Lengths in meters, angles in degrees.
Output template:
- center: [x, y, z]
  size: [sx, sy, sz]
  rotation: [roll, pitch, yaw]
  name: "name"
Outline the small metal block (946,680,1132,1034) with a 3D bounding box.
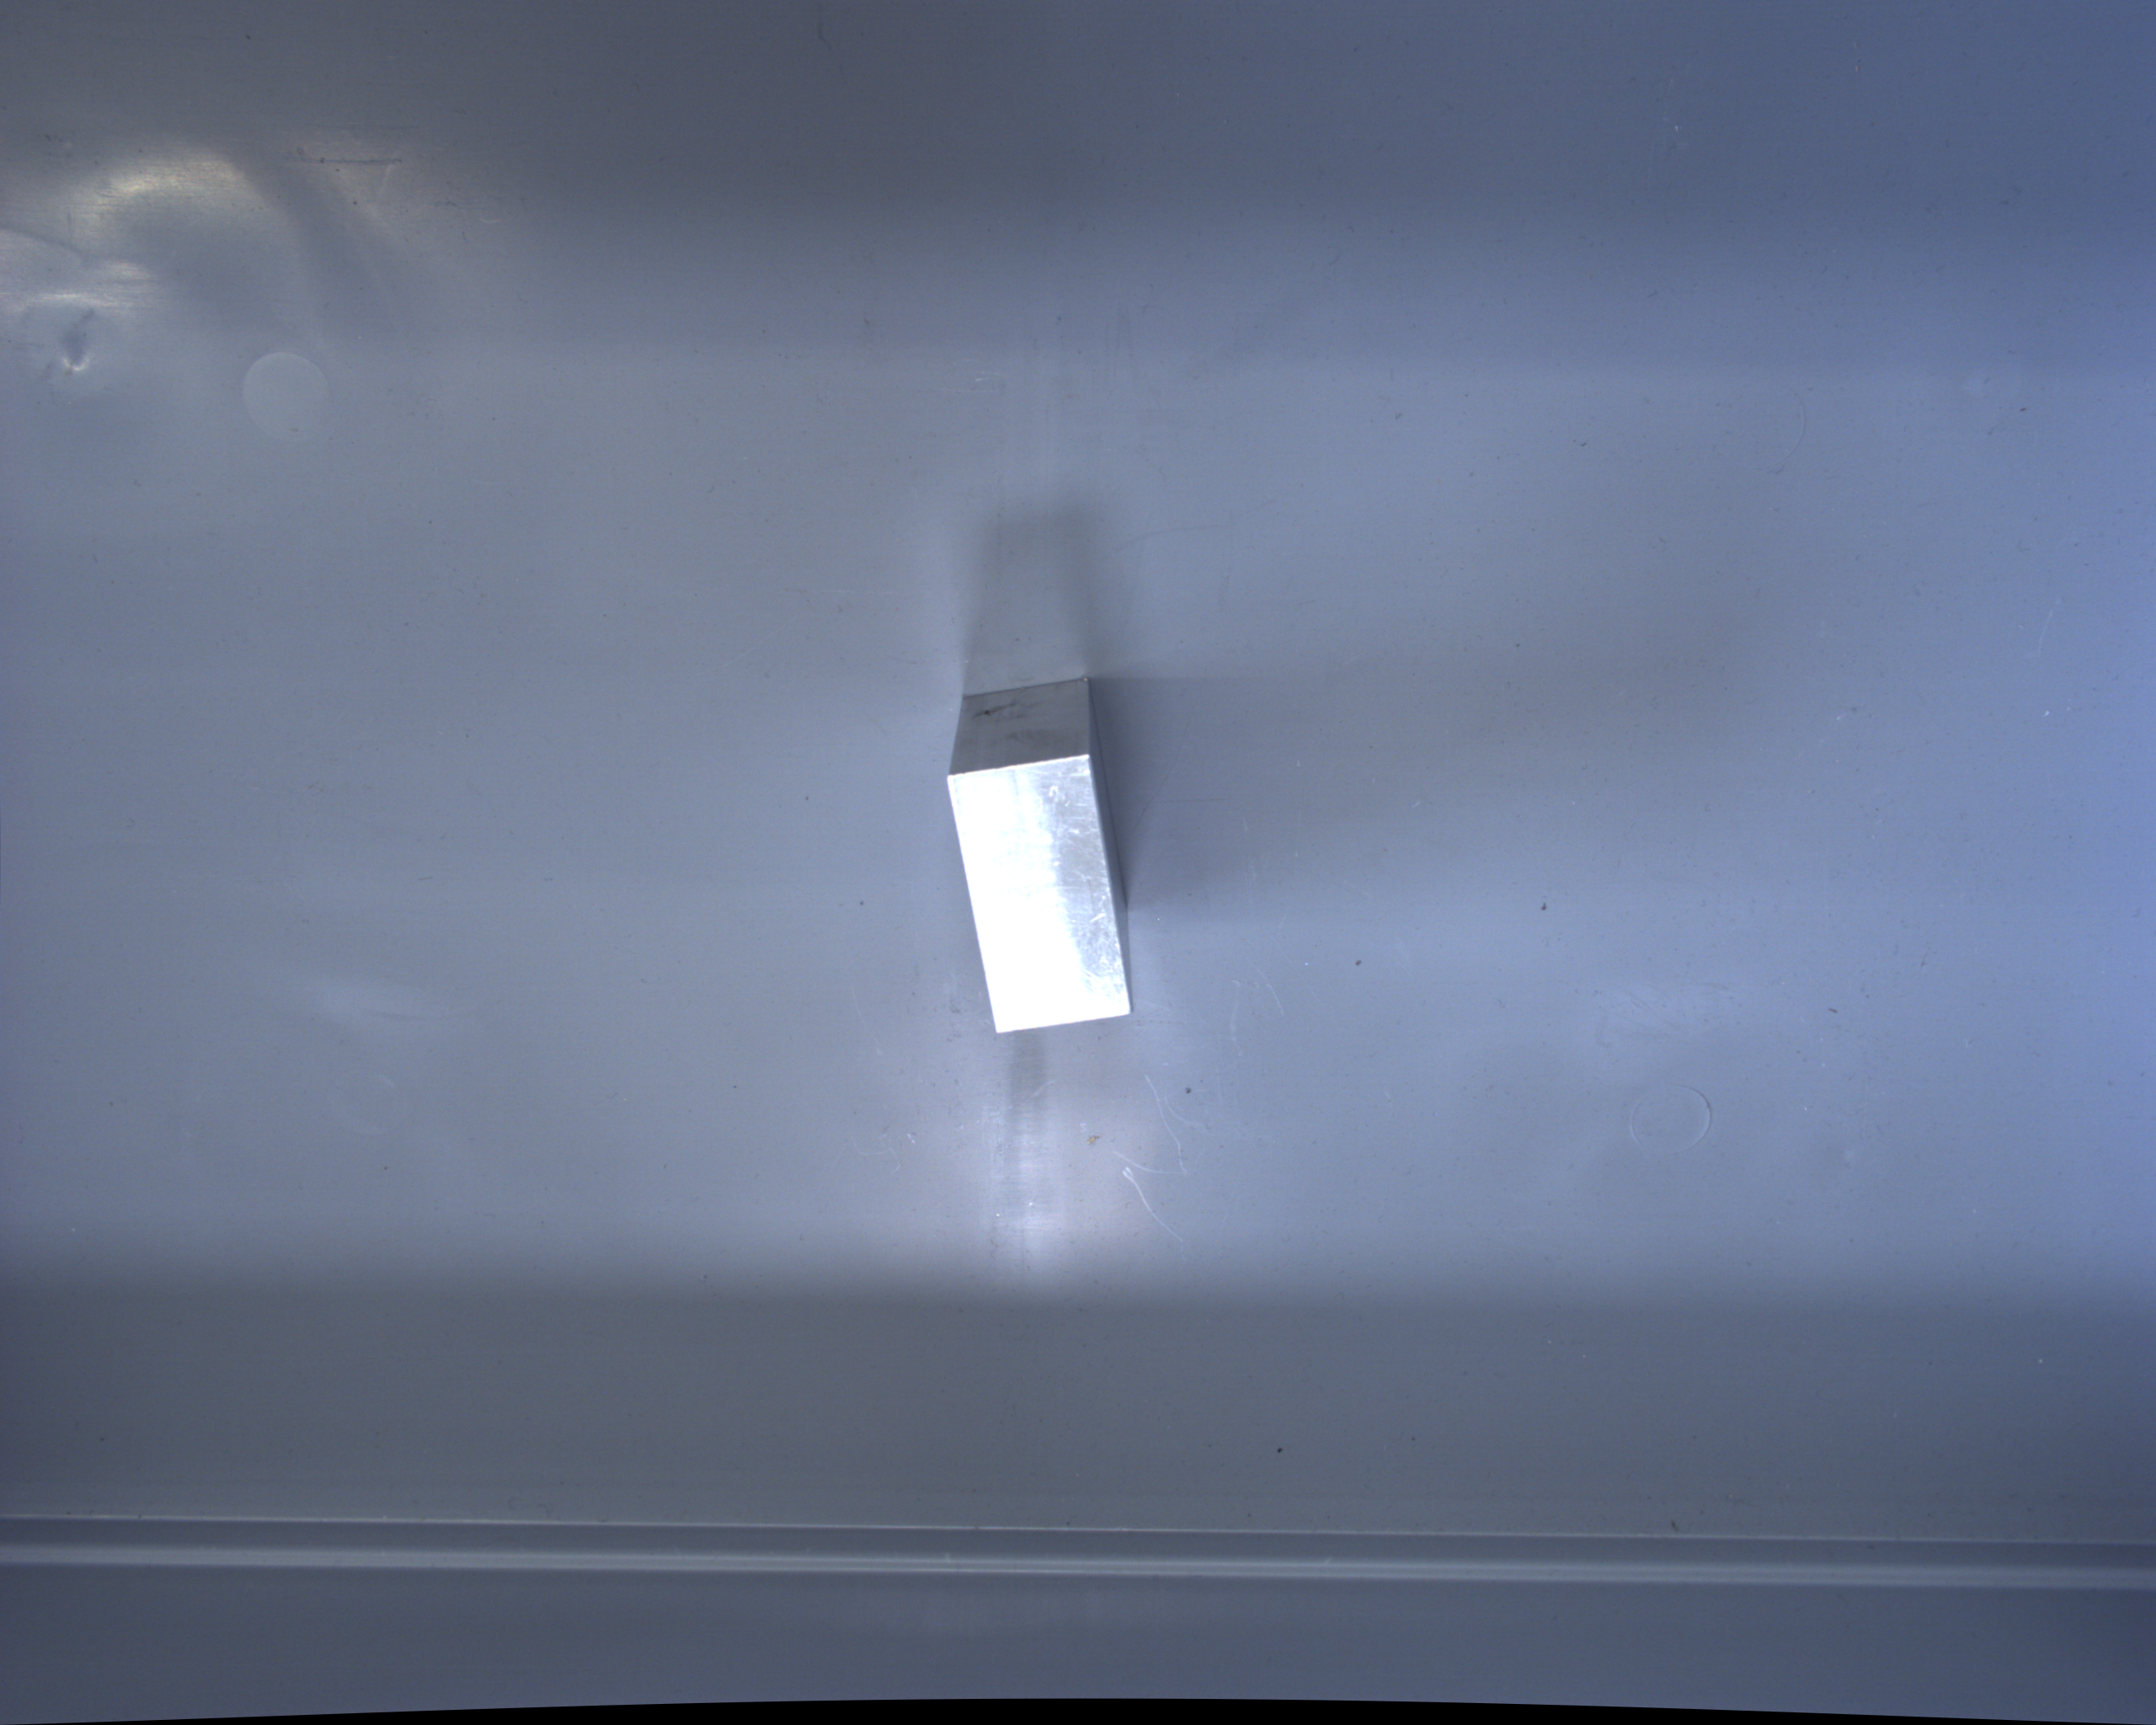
- center: [-0.006, -0.002, 0.393]
  size: [0.025, 0.050, 0.050]
  rotation: [-8, 109, 3]
  name: "small metal block"
